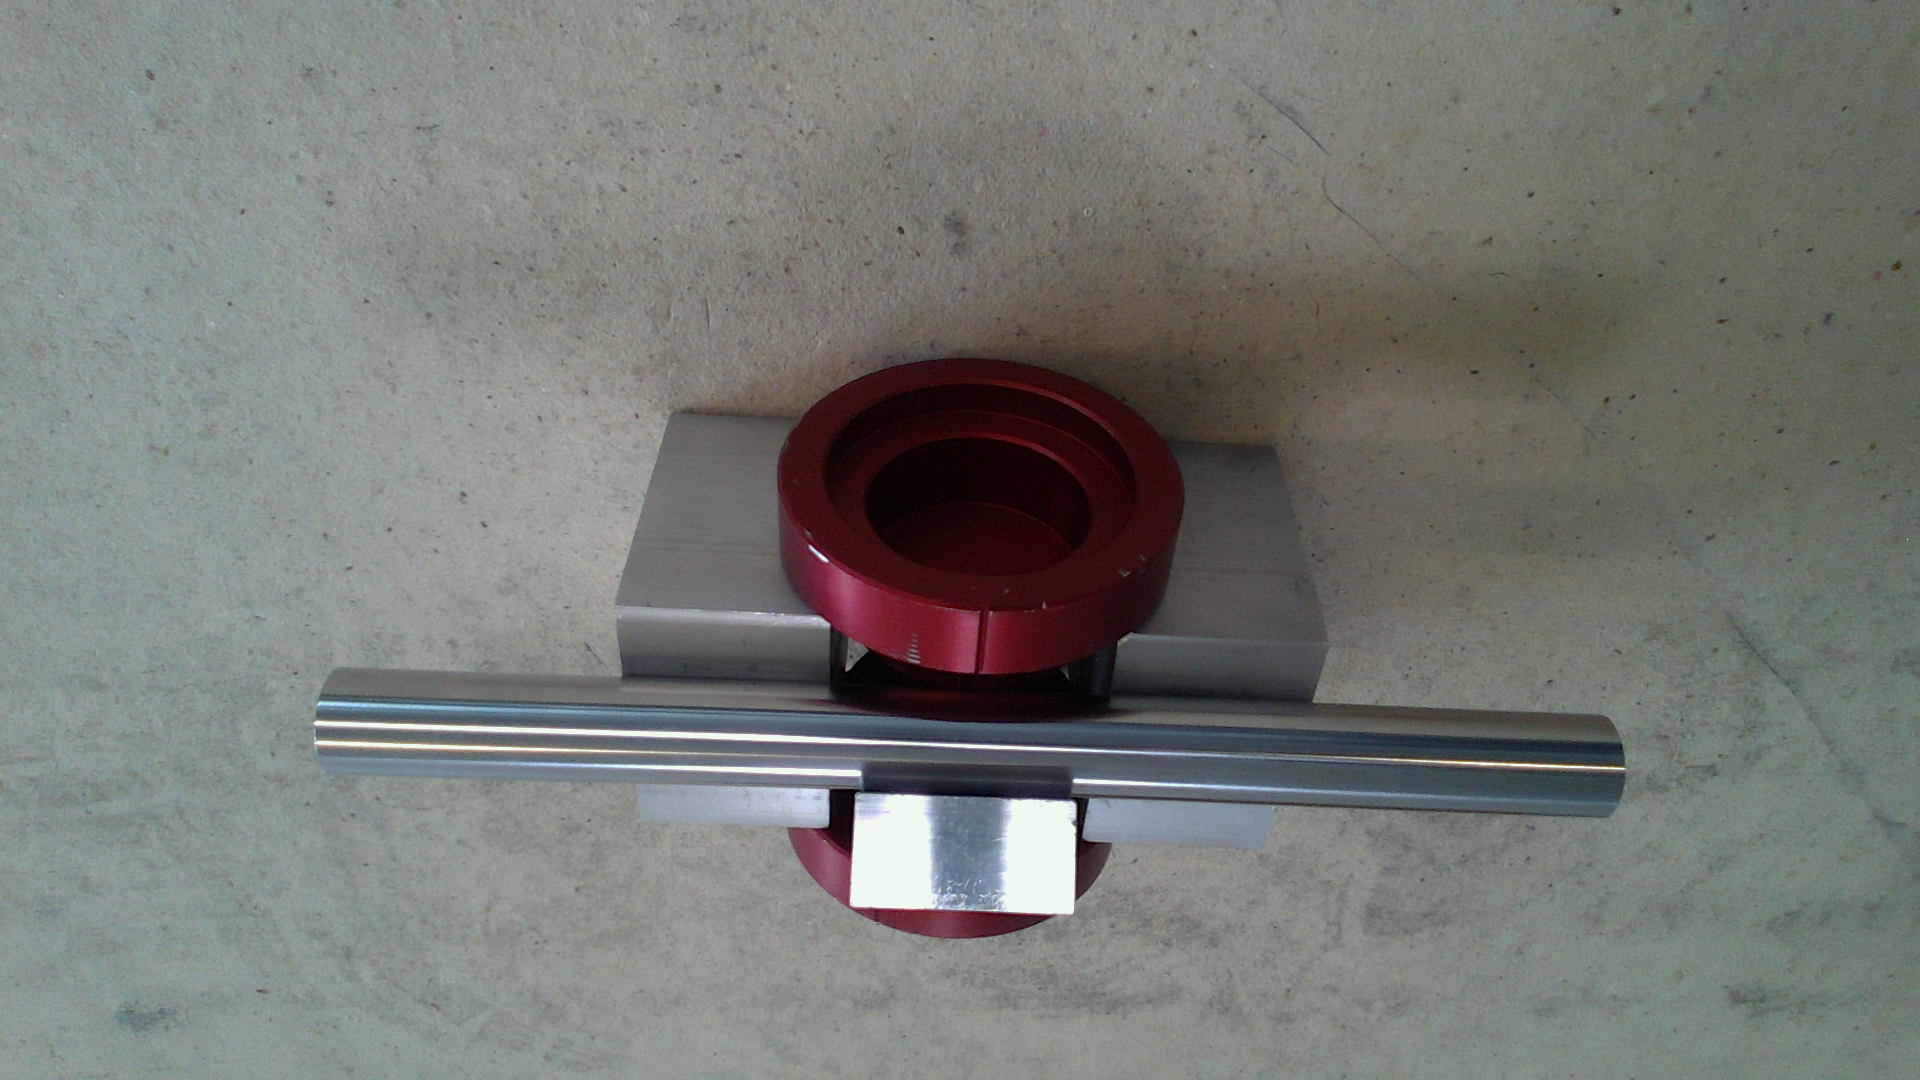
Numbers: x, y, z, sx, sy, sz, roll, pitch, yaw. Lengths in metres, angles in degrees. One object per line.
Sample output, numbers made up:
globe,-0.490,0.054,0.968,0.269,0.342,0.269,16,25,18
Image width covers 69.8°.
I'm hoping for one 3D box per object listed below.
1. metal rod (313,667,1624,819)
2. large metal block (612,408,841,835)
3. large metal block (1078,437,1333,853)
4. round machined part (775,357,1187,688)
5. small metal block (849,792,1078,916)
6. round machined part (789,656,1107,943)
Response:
metal rod,0.004,0.048,0.327,0.300,0.025,0.025,2,130,-2
large metal block,-0.058,0.021,0.373,0.050,0.080,0.080,3,130,-3
large metal block,0.060,0.028,0.379,0.050,0.080,0.080,3,130,-2
round machined part,0.004,-0.001,0.342,0.098,0.098,0.042,3,131,-3
small metal block,0.001,0.074,0.331,0.050,0.025,0.050,2,171,0
round machined part,-0.001,0.063,0.396,0.098,0.098,0.042,3,125,-3
